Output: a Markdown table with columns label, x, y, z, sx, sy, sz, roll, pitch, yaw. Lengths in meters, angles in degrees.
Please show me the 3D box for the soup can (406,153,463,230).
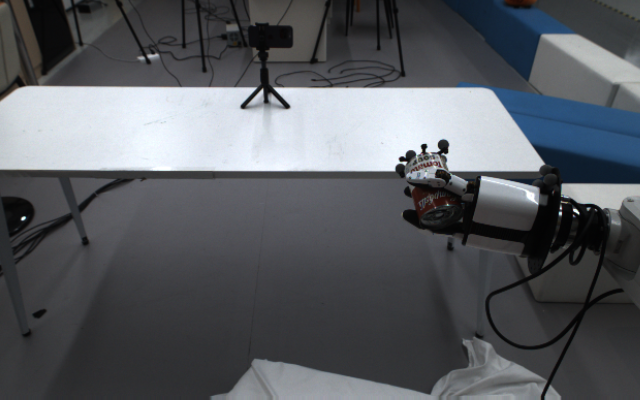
| label | x | y | z | sx | sy | sz | roll | pitch | yaw |
| --- | --- | --- | --- | --- | --- | --- | --- | --- | --- |
| soup can | 0.175 | -0.016 | 0.748 | 0.067 | 0.067 | 0.101 | -5 | 57 | -10 |
